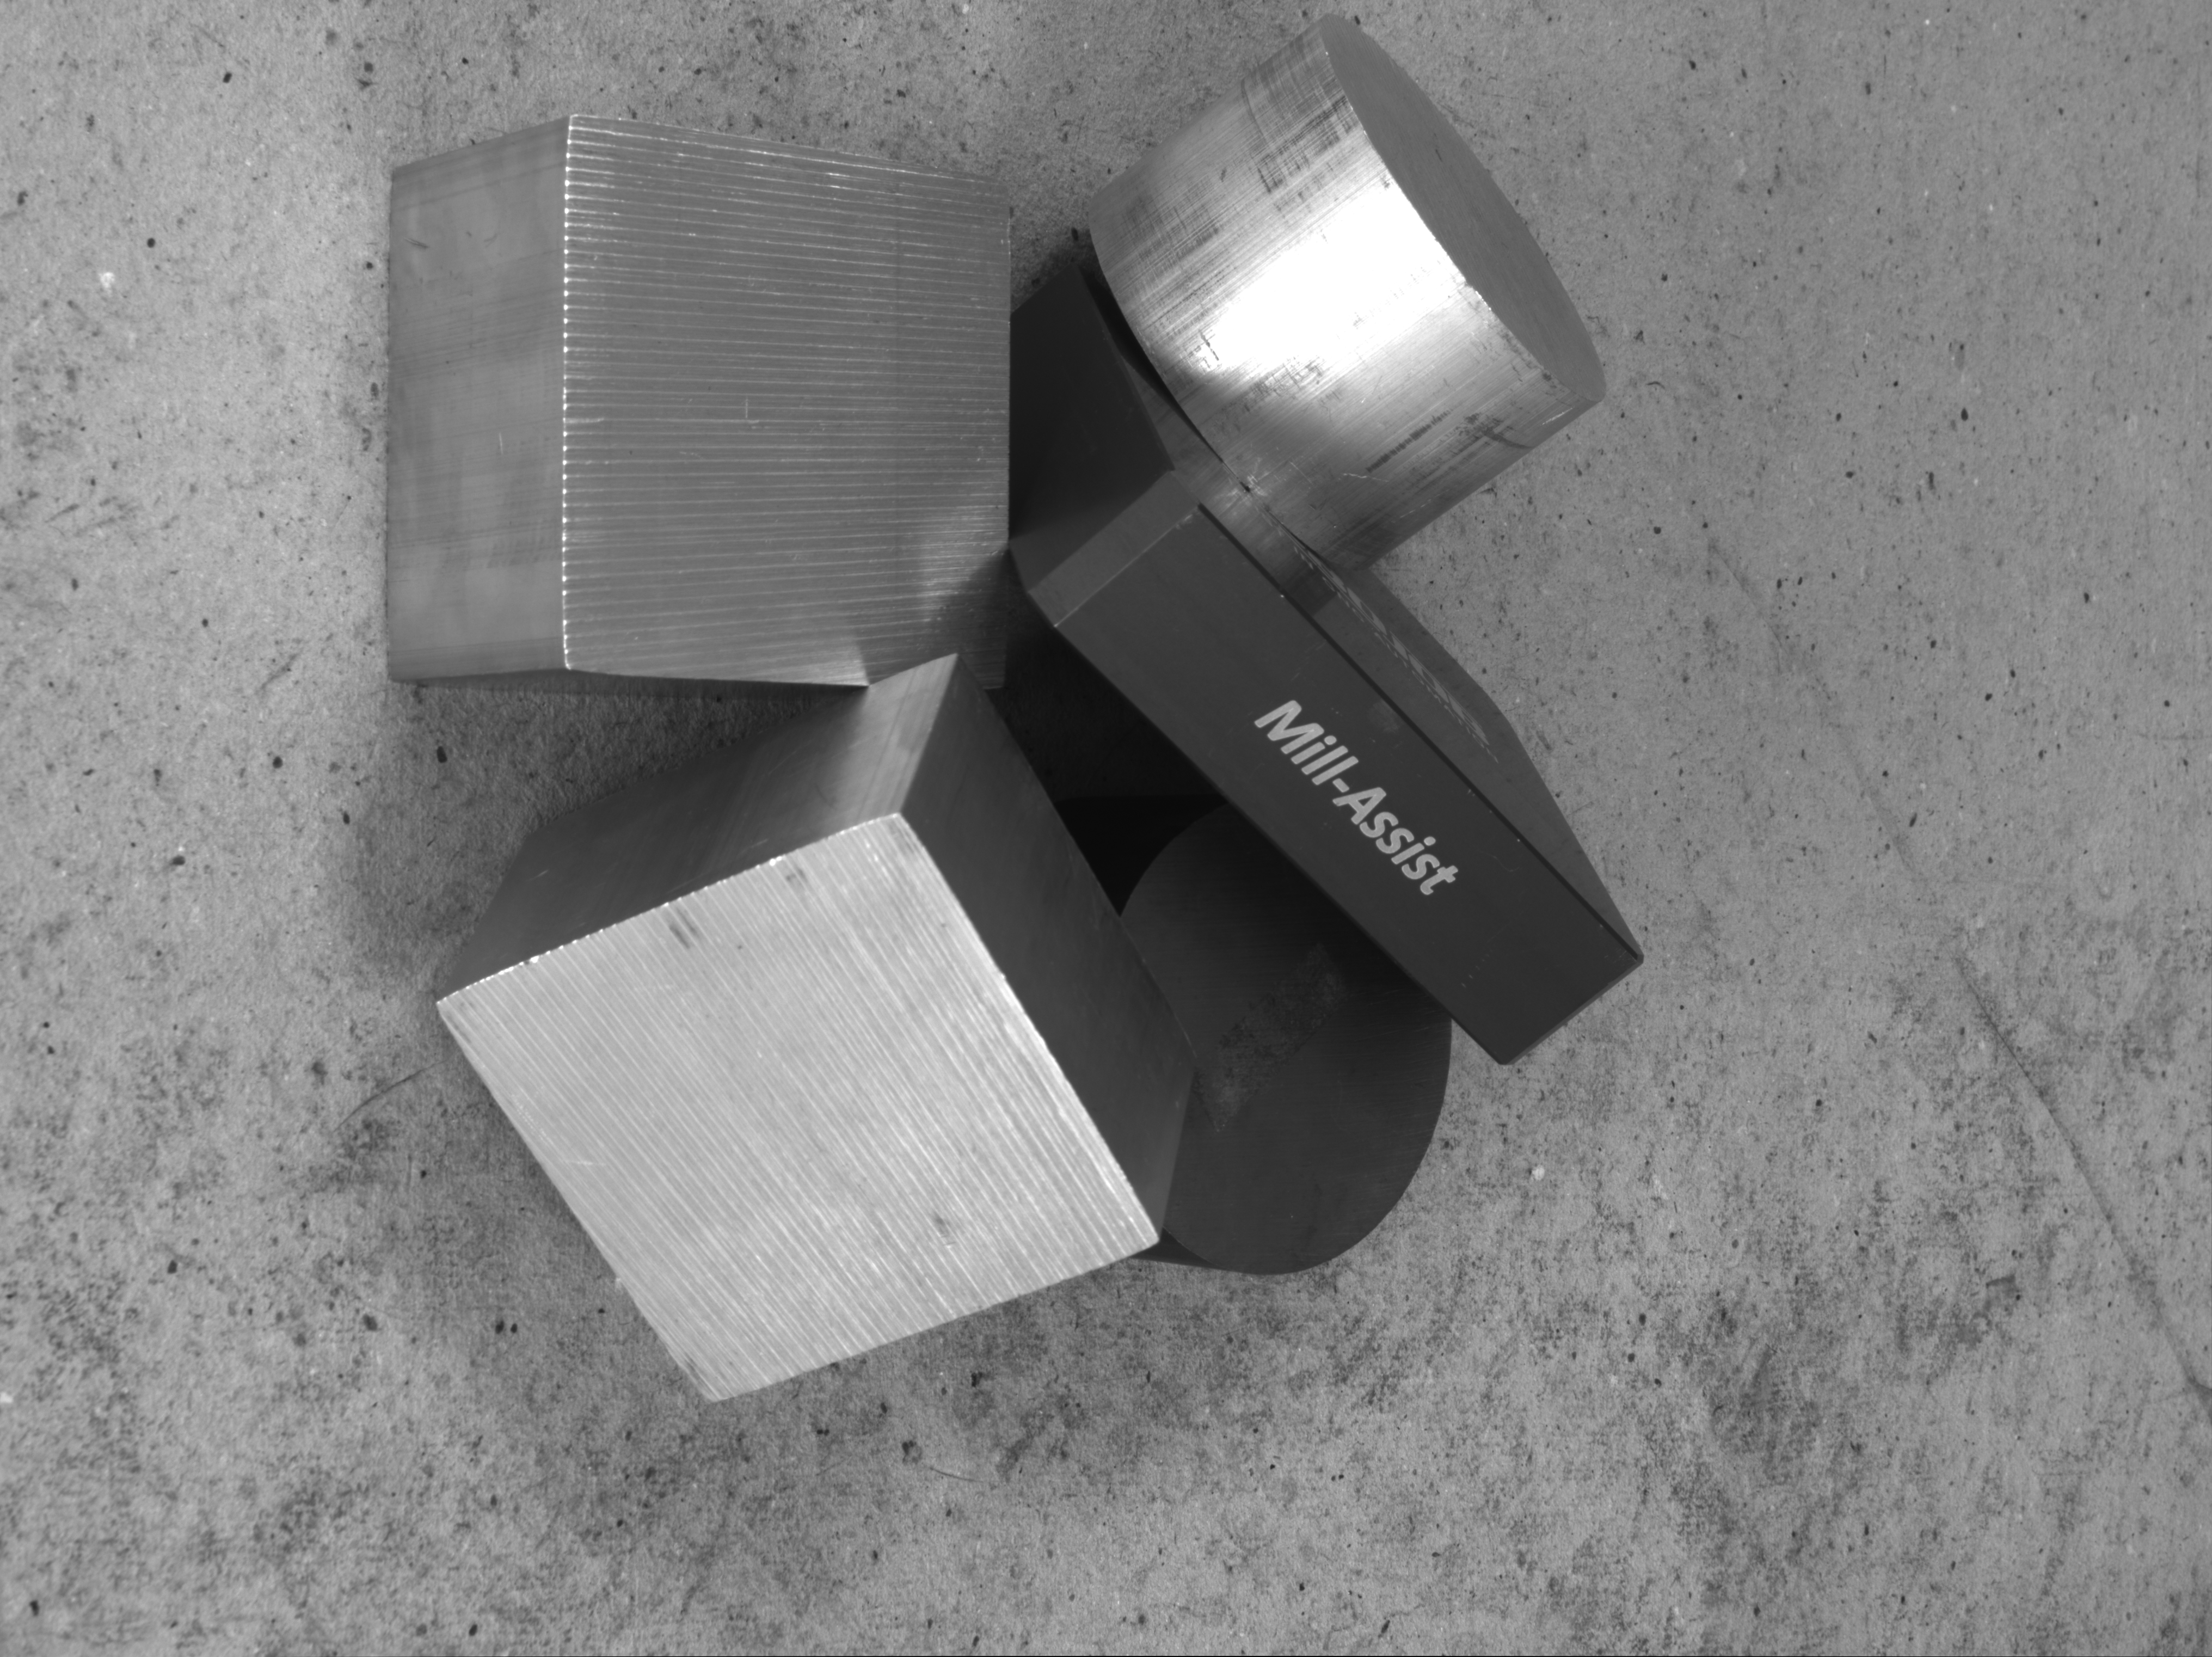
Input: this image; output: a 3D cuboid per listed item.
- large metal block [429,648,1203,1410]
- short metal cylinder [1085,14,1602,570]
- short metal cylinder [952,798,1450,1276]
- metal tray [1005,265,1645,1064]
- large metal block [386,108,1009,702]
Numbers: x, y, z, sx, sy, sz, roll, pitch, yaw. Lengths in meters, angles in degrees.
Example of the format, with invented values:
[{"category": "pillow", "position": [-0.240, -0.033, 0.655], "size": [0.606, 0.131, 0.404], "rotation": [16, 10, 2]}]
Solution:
[{"category": "large metal block", "position": [-0.041, 0.031, 0.558], "size": [0.080, 0.080, 0.050], "rotation": [60, 21, -23]}, {"category": "short metal cylinder", "position": [0.041, -0.091, 0.629], "size": [0.080, 0.050, 0.080], "rotation": [46, 22, -24]}, {"category": "short metal cylinder", "position": [0.013, 0.035, 0.632], "size": [0.080, 0.050, 0.080], "rotation": [0, 90, -40]}, {"category": "metal tray", "position": [0.032, -0.027, 0.622], "size": [0.030, 0.090, 0.130], "rotation": [-40, 122, 12]}, {"category": "large metal block", "position": [-0.062, -0.062, 0.566], "size": [0.080, 0.050, 0.080], "rotation": [1, 89, -40]}]
